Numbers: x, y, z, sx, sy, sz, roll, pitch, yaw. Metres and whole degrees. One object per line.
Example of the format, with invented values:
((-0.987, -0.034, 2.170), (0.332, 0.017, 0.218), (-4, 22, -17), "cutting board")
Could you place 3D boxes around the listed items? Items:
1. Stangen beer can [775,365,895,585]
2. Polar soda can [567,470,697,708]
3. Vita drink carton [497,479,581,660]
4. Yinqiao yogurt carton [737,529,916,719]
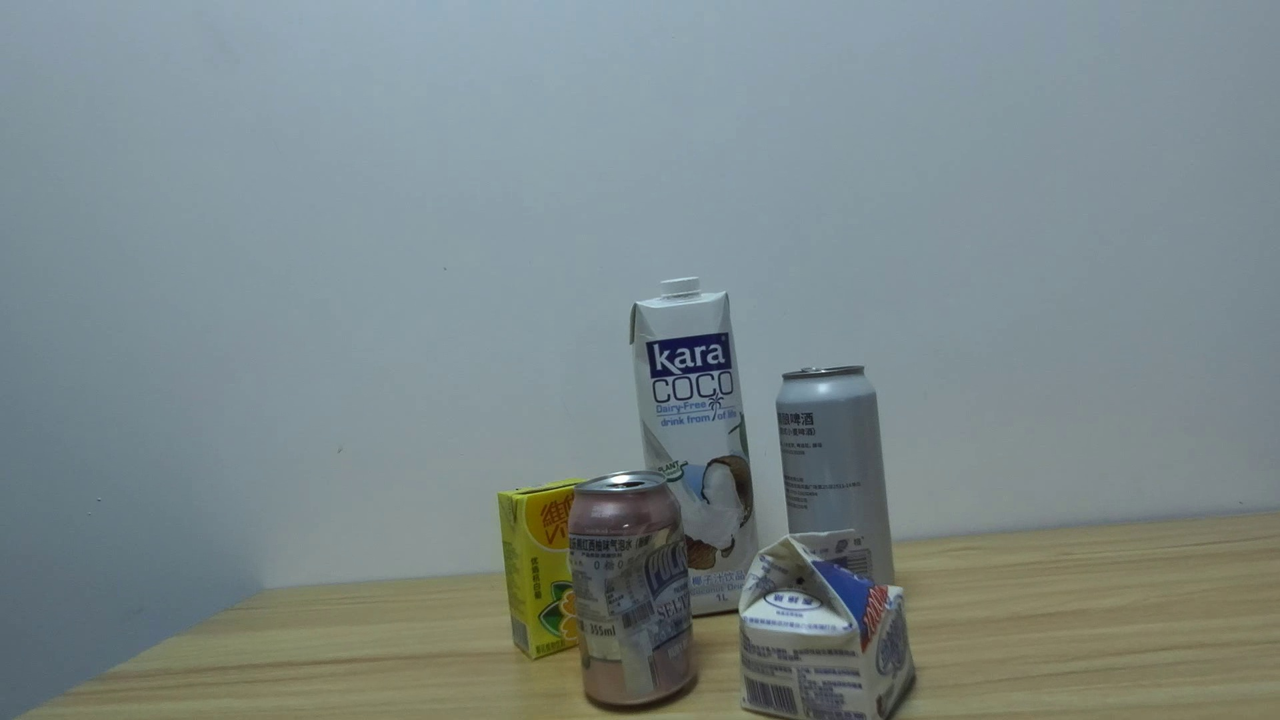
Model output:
((0.131, 0.091, 0.478), (0.067, 0.171, 0.067), (-6, -1, 0), "Stangen beer can")
((-0.004, 0.131, 0.410), (0.074, 0.121, 0.067), (-6, -1, -18), "Polar soda can")
((-0.058, 0.141, 0.495), (0.067, 0.109, 0.043), (-7, 2, -30), "Vita drink carton")
((0.094, 0.131, 0.372), (0.077, 0.093, 0.083), (-6, 0, 36), "Yinqiao yogurt carton")
